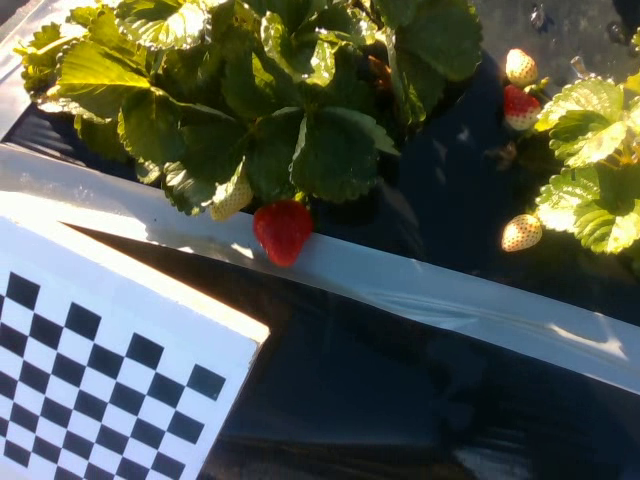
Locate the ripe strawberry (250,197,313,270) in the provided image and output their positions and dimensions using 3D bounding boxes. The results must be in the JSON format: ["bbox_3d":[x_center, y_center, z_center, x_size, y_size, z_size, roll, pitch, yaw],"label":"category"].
[{"bbox_3d":[-0.027,-0.004,0.395,0.045,0.064,0.048,-36,-51,28],"label":"ripe strawberry"}]
